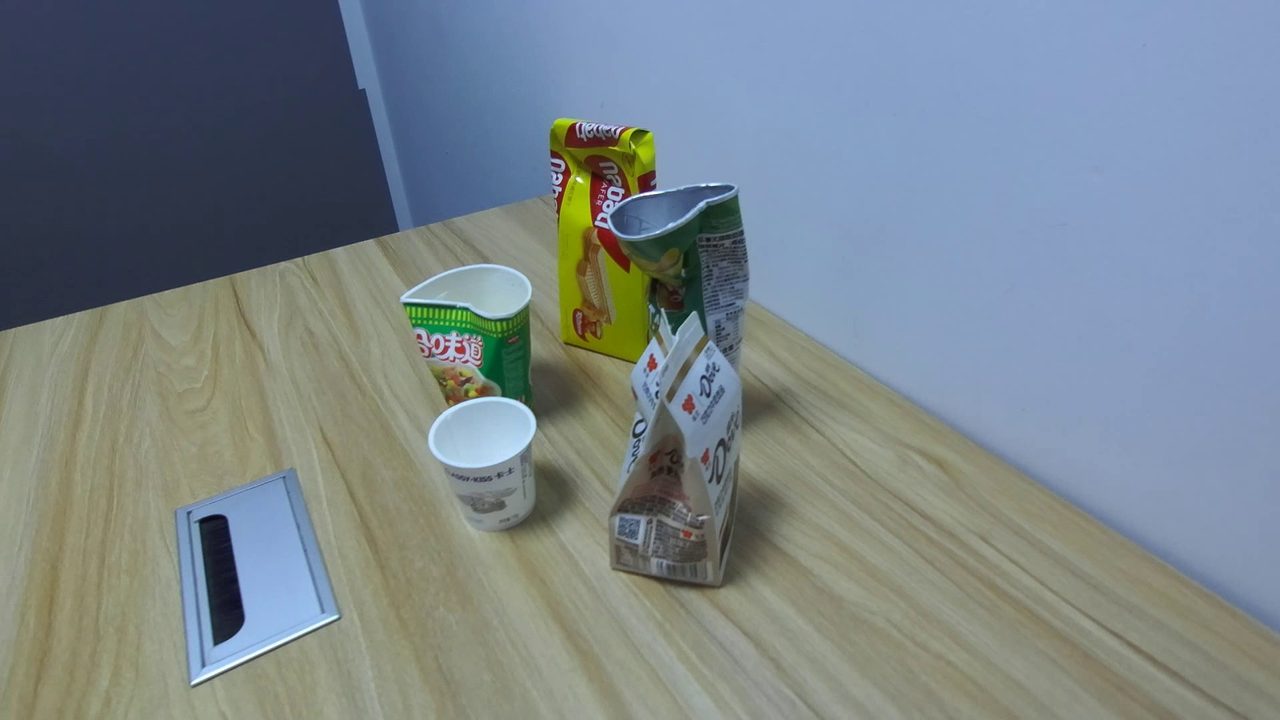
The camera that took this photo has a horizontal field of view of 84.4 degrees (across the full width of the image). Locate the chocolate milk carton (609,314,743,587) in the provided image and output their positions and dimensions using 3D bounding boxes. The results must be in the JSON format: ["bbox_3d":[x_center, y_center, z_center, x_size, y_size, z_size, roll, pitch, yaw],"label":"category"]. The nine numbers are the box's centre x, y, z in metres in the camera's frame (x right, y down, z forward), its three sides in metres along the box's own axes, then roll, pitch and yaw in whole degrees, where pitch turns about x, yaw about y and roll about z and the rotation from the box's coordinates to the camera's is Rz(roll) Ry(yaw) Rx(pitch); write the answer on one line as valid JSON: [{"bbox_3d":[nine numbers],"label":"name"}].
[{"bbox_3d":[0.020,0.054,0.422,0.073,0.155,0.084,7,37,14],"label":"chocolate milk carton"}]

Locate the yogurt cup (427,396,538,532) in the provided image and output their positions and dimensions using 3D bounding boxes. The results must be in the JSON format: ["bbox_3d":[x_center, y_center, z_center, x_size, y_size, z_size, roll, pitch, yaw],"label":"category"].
[{"bbox_3d":[-0.102,0.074,0.482,0.072,0.068,0.072,-2,35,2],"label":"yogurt cup"}]

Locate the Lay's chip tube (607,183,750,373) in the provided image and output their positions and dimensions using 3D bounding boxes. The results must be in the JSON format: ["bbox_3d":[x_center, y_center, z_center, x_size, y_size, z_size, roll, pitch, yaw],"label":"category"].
[{"bbox_3d":[0.031,-0.029,0.510,0.078,0.200,0.071,25,52,36],"label":"Lay's chip tube"}]

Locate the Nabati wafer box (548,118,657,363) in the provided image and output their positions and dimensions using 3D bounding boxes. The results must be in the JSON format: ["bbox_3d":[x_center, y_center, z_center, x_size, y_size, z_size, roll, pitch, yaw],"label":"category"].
[{"bbox_3d":[-0.030,-0.098,0.608,0.113,0.205,0.043,15,36,27],"label":"Nabati wafer box"}]

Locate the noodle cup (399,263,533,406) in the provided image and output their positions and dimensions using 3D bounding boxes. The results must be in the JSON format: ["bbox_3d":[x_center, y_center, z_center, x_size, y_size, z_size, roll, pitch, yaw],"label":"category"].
[{"bbox_3d":[-0.123,-0.007,0.565,0.093,0.109,0.087,26,45,35],"label":"noodle cup"}]
